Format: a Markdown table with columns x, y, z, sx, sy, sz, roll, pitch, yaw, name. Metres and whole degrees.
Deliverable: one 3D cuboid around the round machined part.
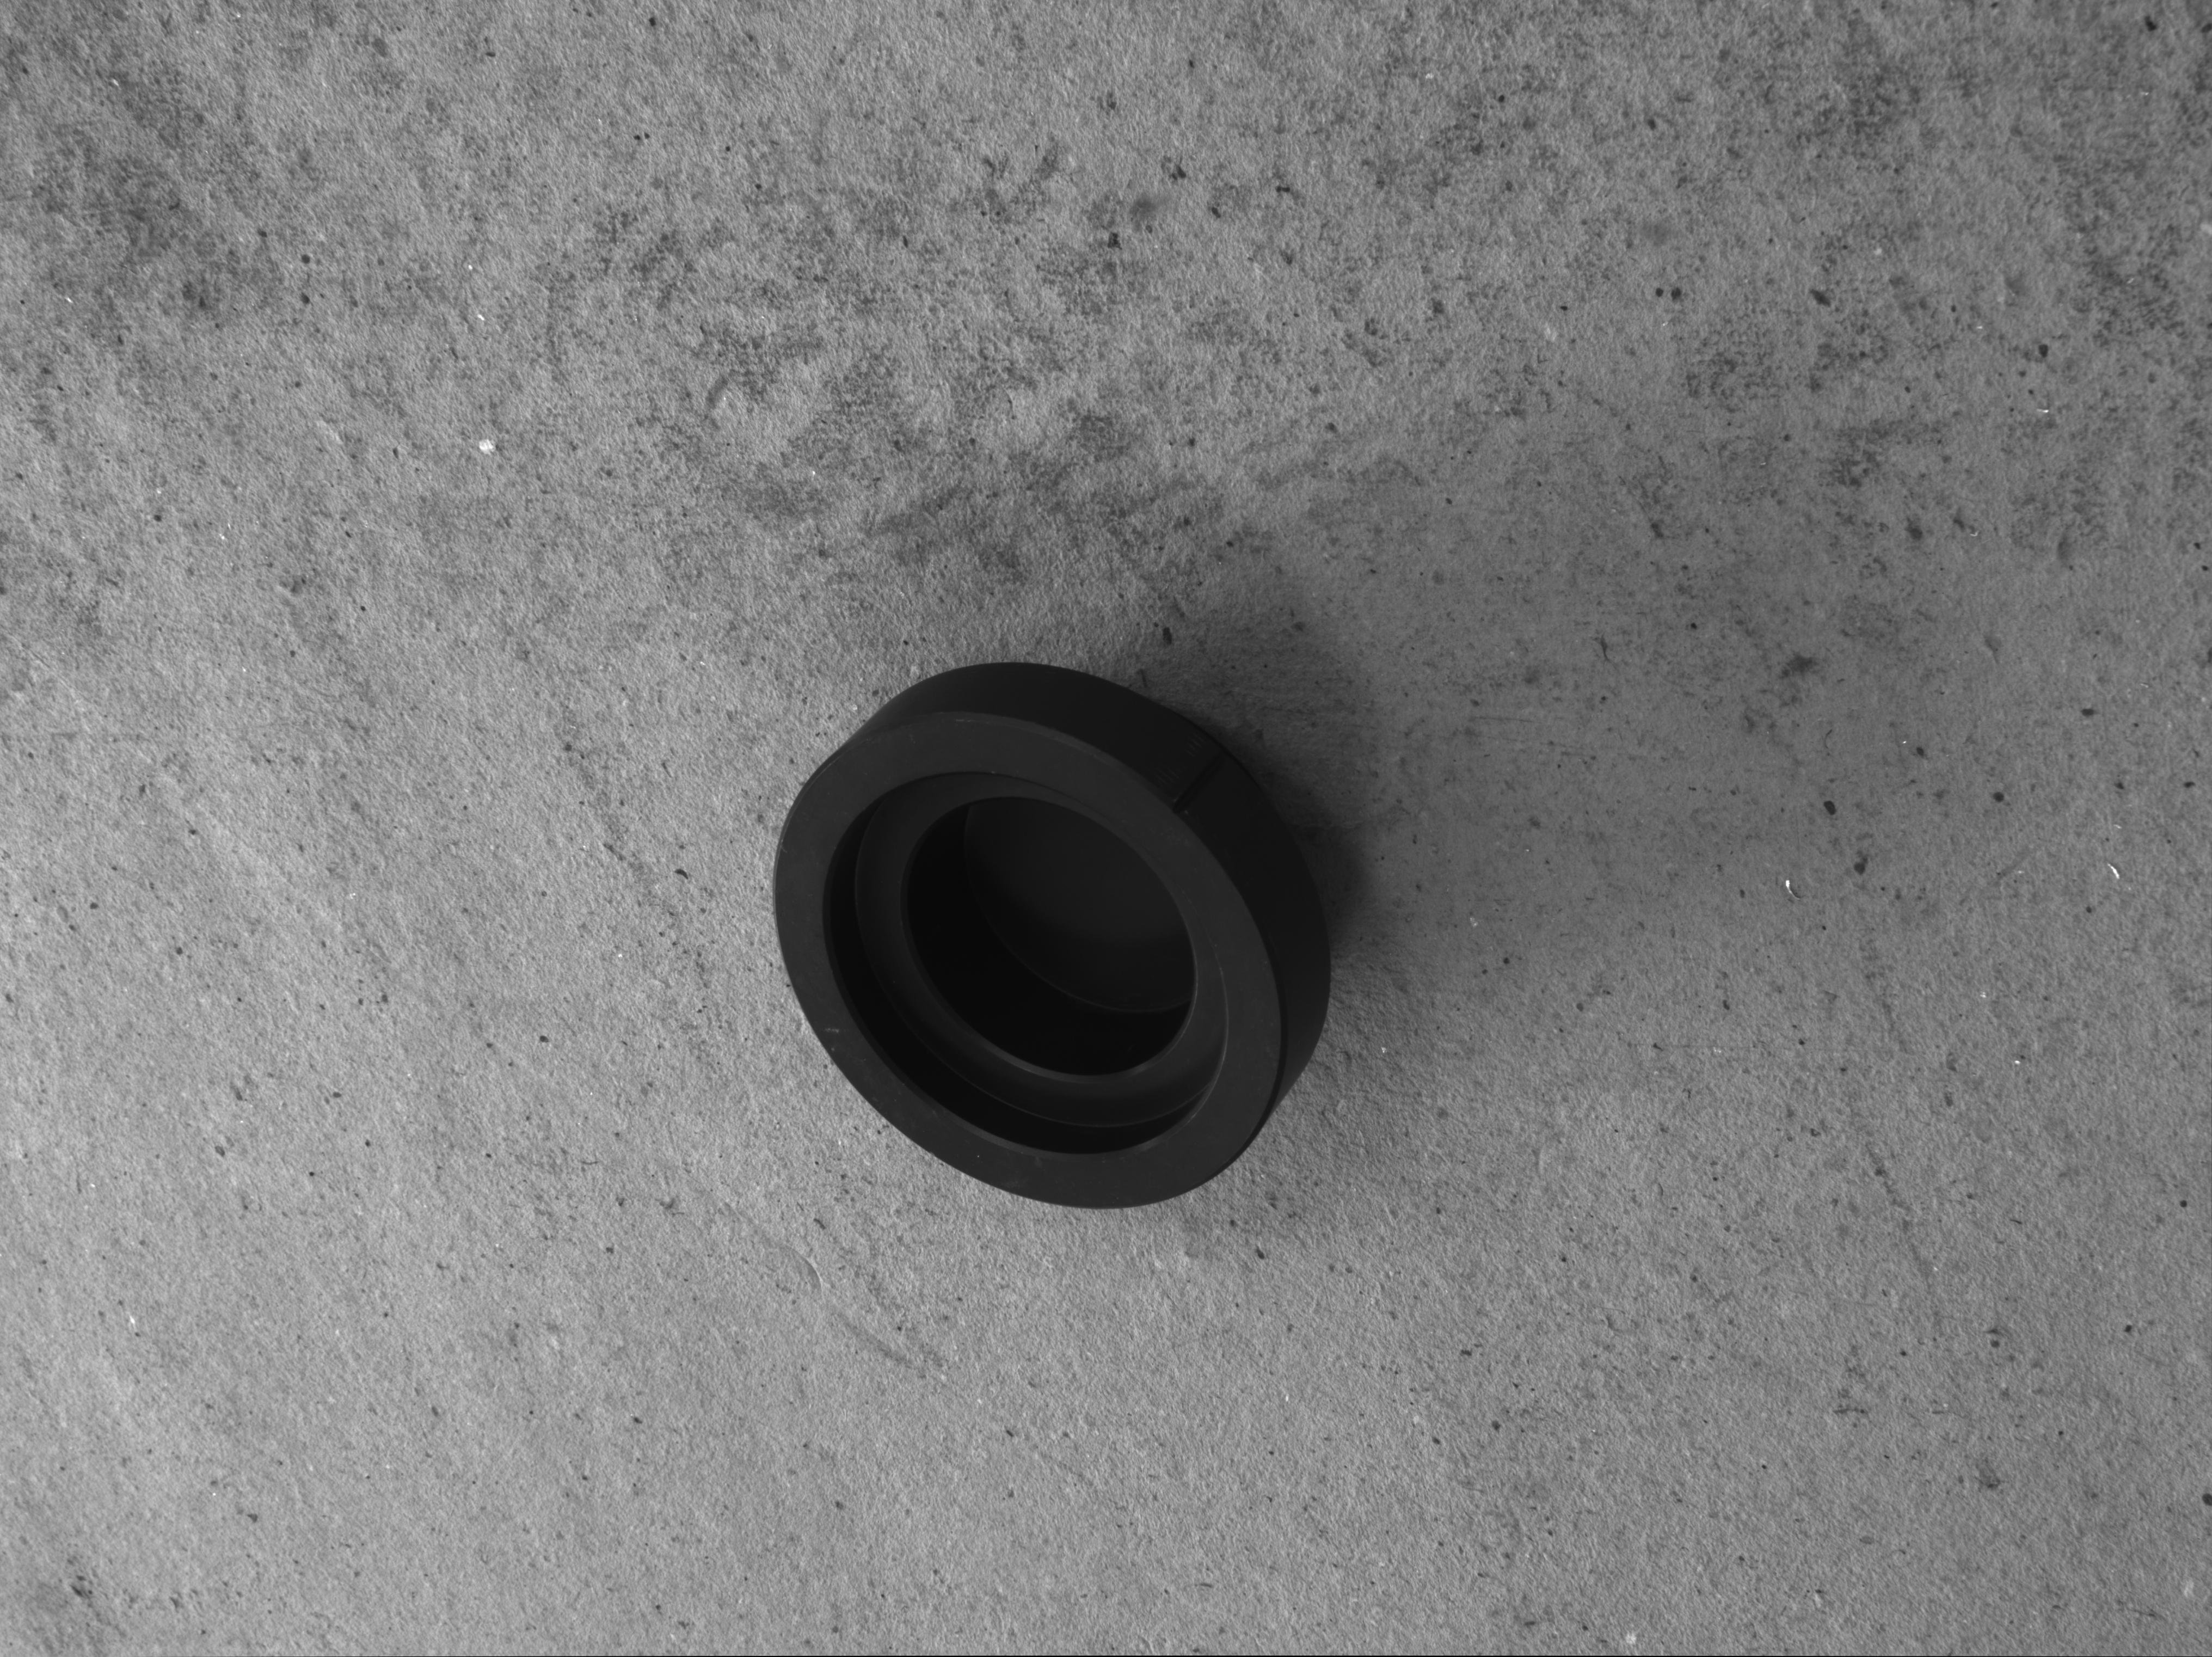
| x | y | z | sx | sy | sz | roll | pitch | yaw | name |
| --- | --- | --- | --- | --- | --- | --- | --- | --- | --- |
| -0.005 | 0.014 | 0.644 | 0.098 | 0.042 | 0.098 | 13 | 124 | 21 | round machined part |
